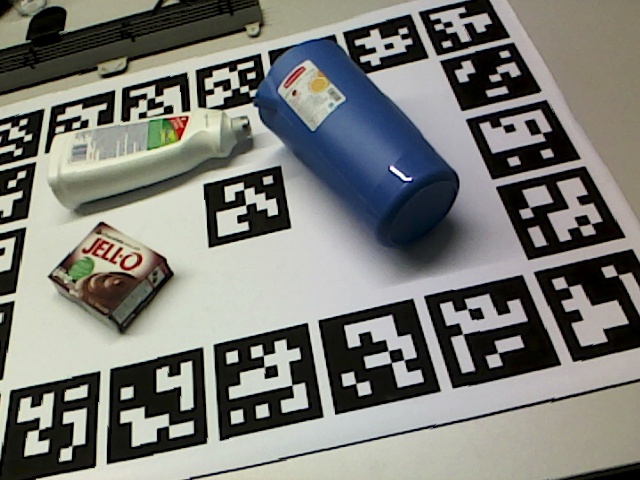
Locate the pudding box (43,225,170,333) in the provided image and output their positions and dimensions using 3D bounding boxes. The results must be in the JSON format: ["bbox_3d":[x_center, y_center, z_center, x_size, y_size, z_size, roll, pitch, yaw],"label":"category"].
[{"bbox_3d":[-0.244,0.043,0.712,0.114,0.038,0.090,28,60,25],"label":"pudding box"}]

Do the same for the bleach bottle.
[{"bbox_3d":[-0.216,-0.114,0.804,0.251,0.067,0.103,-15,59,0],"label":"bleach bottle"}]

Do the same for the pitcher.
[{"bbox_3d":[0.051,-0.098,0.715,0.187,0.133,0.244,-13,52,-40],"label":"pitcher"}]
